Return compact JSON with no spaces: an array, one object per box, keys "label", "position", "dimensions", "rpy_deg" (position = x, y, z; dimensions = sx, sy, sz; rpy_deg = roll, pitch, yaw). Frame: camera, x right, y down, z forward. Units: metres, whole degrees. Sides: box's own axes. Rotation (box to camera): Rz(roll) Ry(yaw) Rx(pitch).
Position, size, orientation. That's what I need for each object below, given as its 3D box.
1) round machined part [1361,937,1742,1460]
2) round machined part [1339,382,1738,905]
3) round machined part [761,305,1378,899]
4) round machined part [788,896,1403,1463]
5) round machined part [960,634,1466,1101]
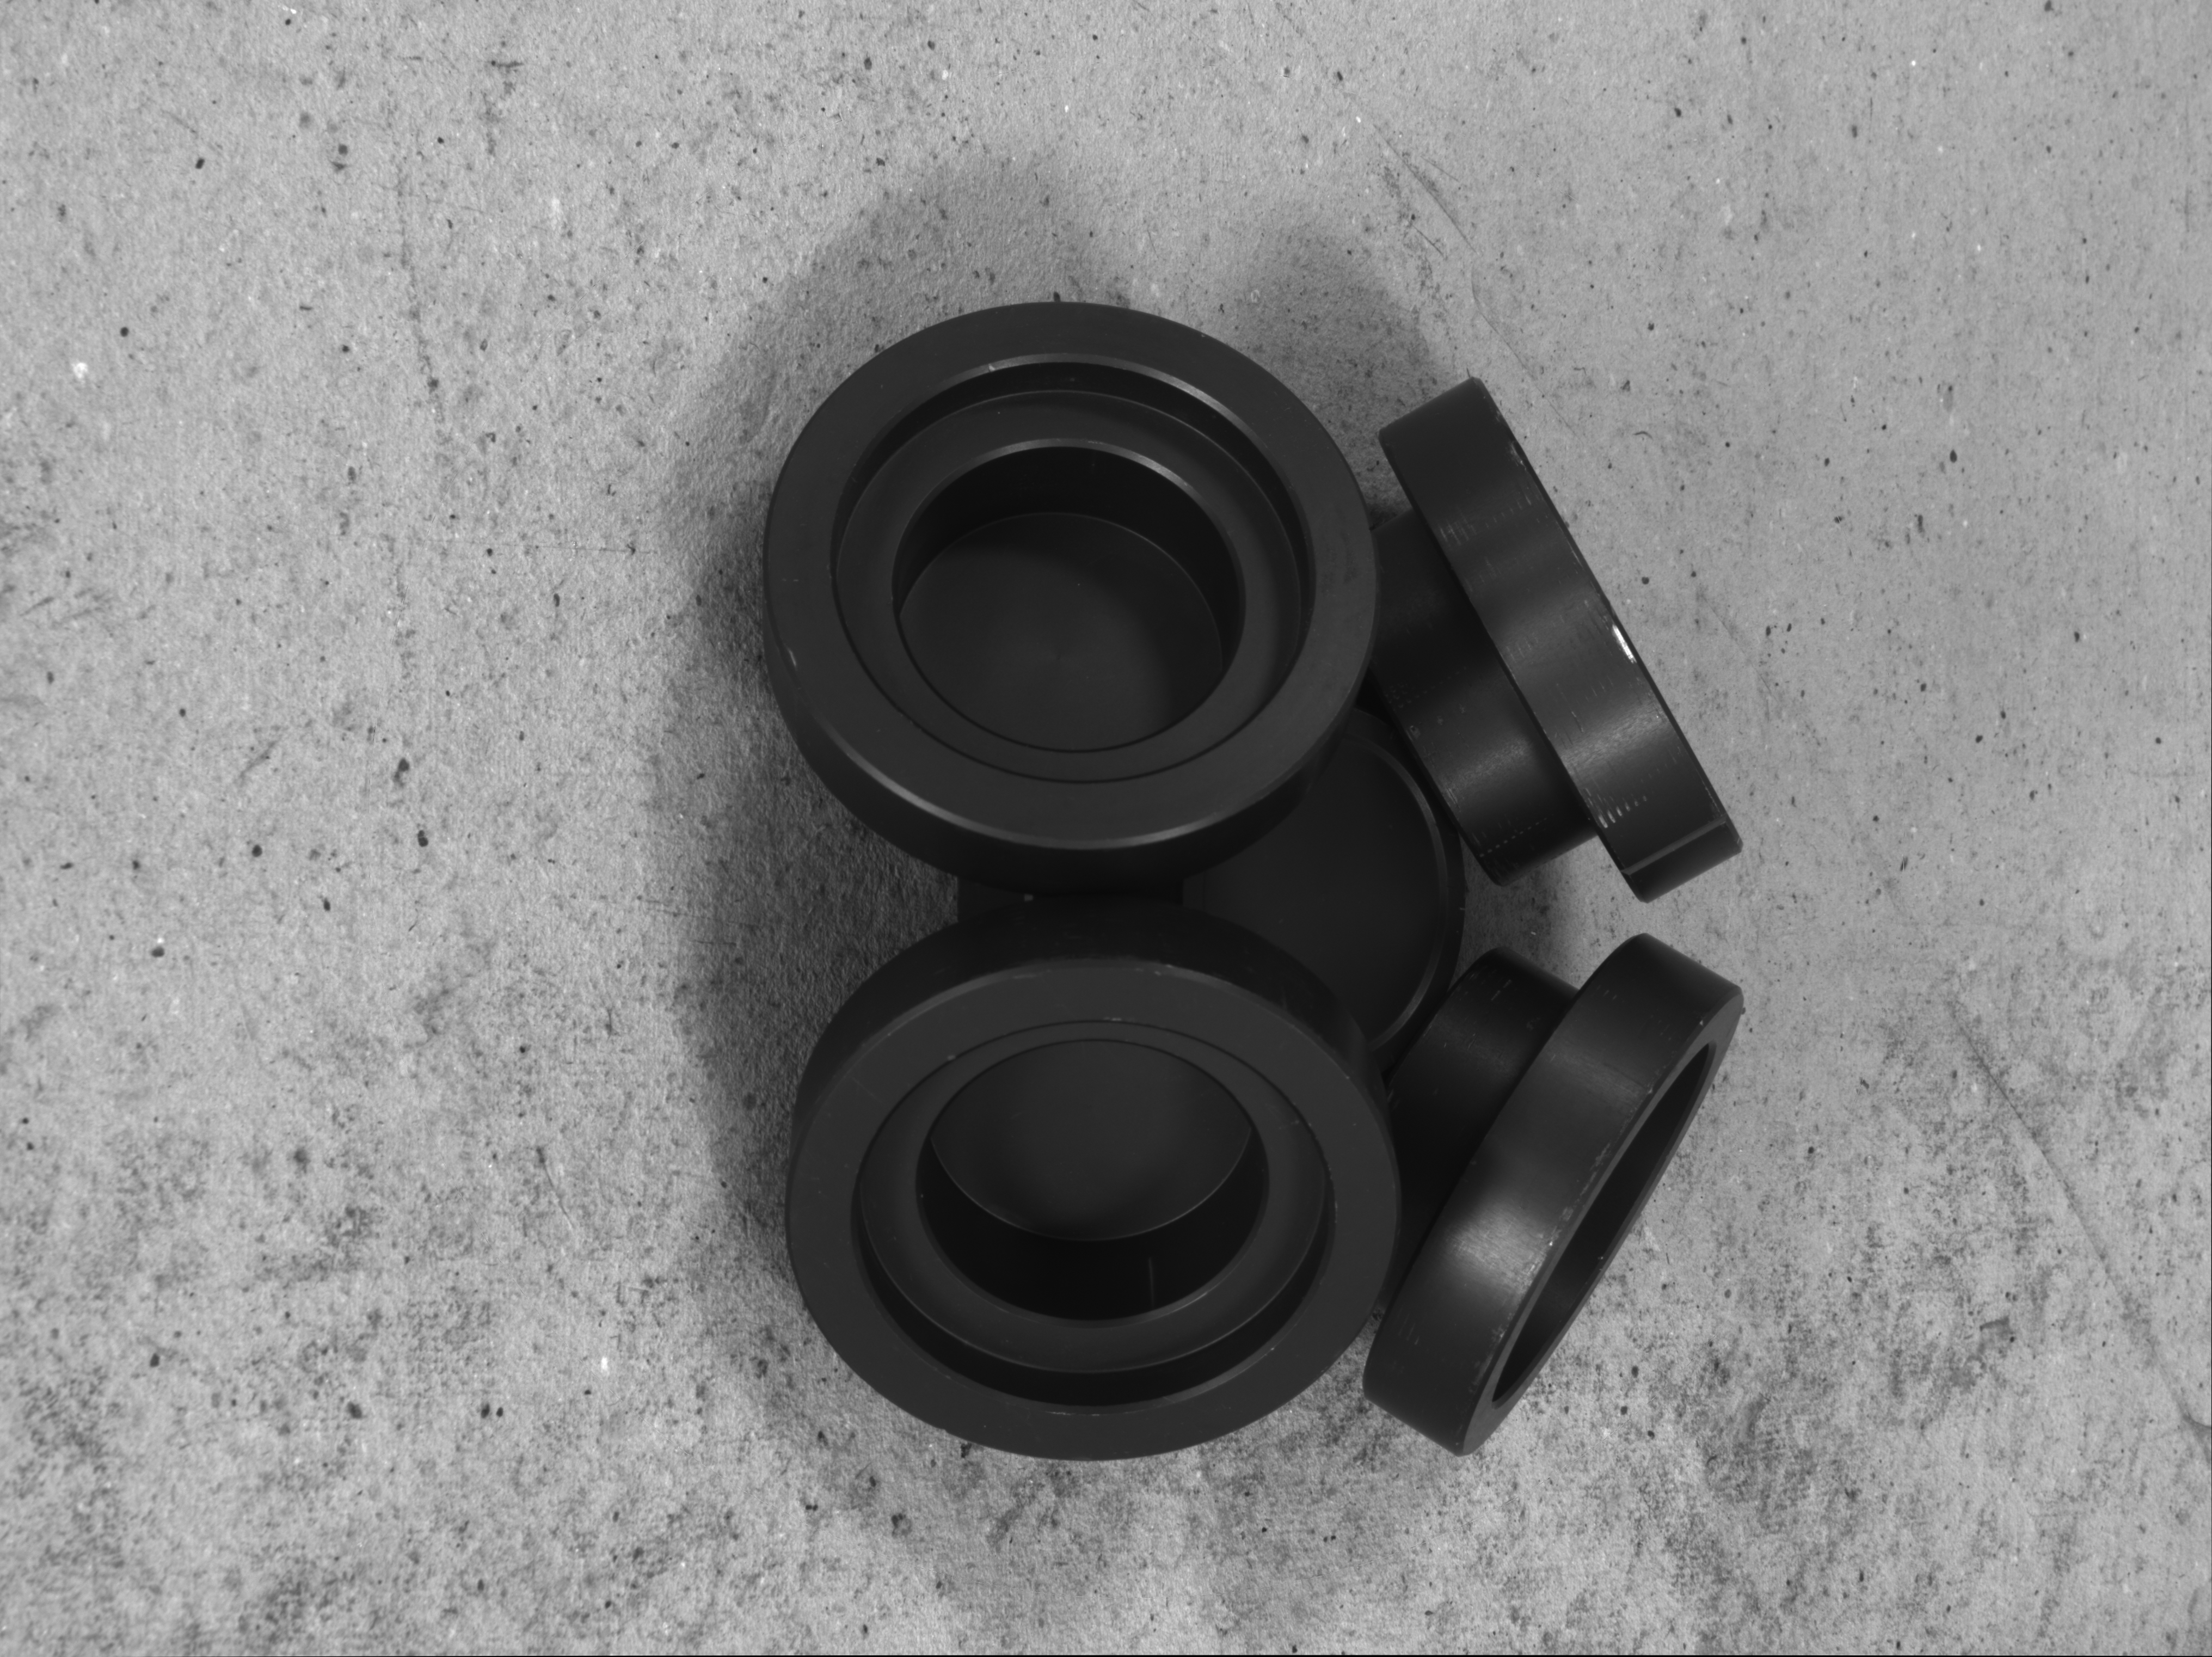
[{"label":"round machined part","position":[0.072,0.061,0.664],"dimensions":[0.098,0.042,0.098],"rpy_deg":[-52,163,-23]},{"label":"round machined part","position":[0.072,-0.028,0.662],"dimensions":[0.042,0.098,0.098],"rpy_deg":[-30,114,8]},{"label":"round machined part","position":[-0.007,-0.033,0.598],"dimensions":[0.098,0.042,0.098],"rpy_deg":[2,65,-5]},{"label":"round machined part","position":[-0.002,0.053,0.600],"dimensions":[0.098,0.098,0.042],"rpy_deg":[54,15,-26]},{"label":"round machined part","position":[0.025,0.012,0.645],"dimensions":[0.098,0.042,0.098],"rpy_deg":[2,87,-41]}]
